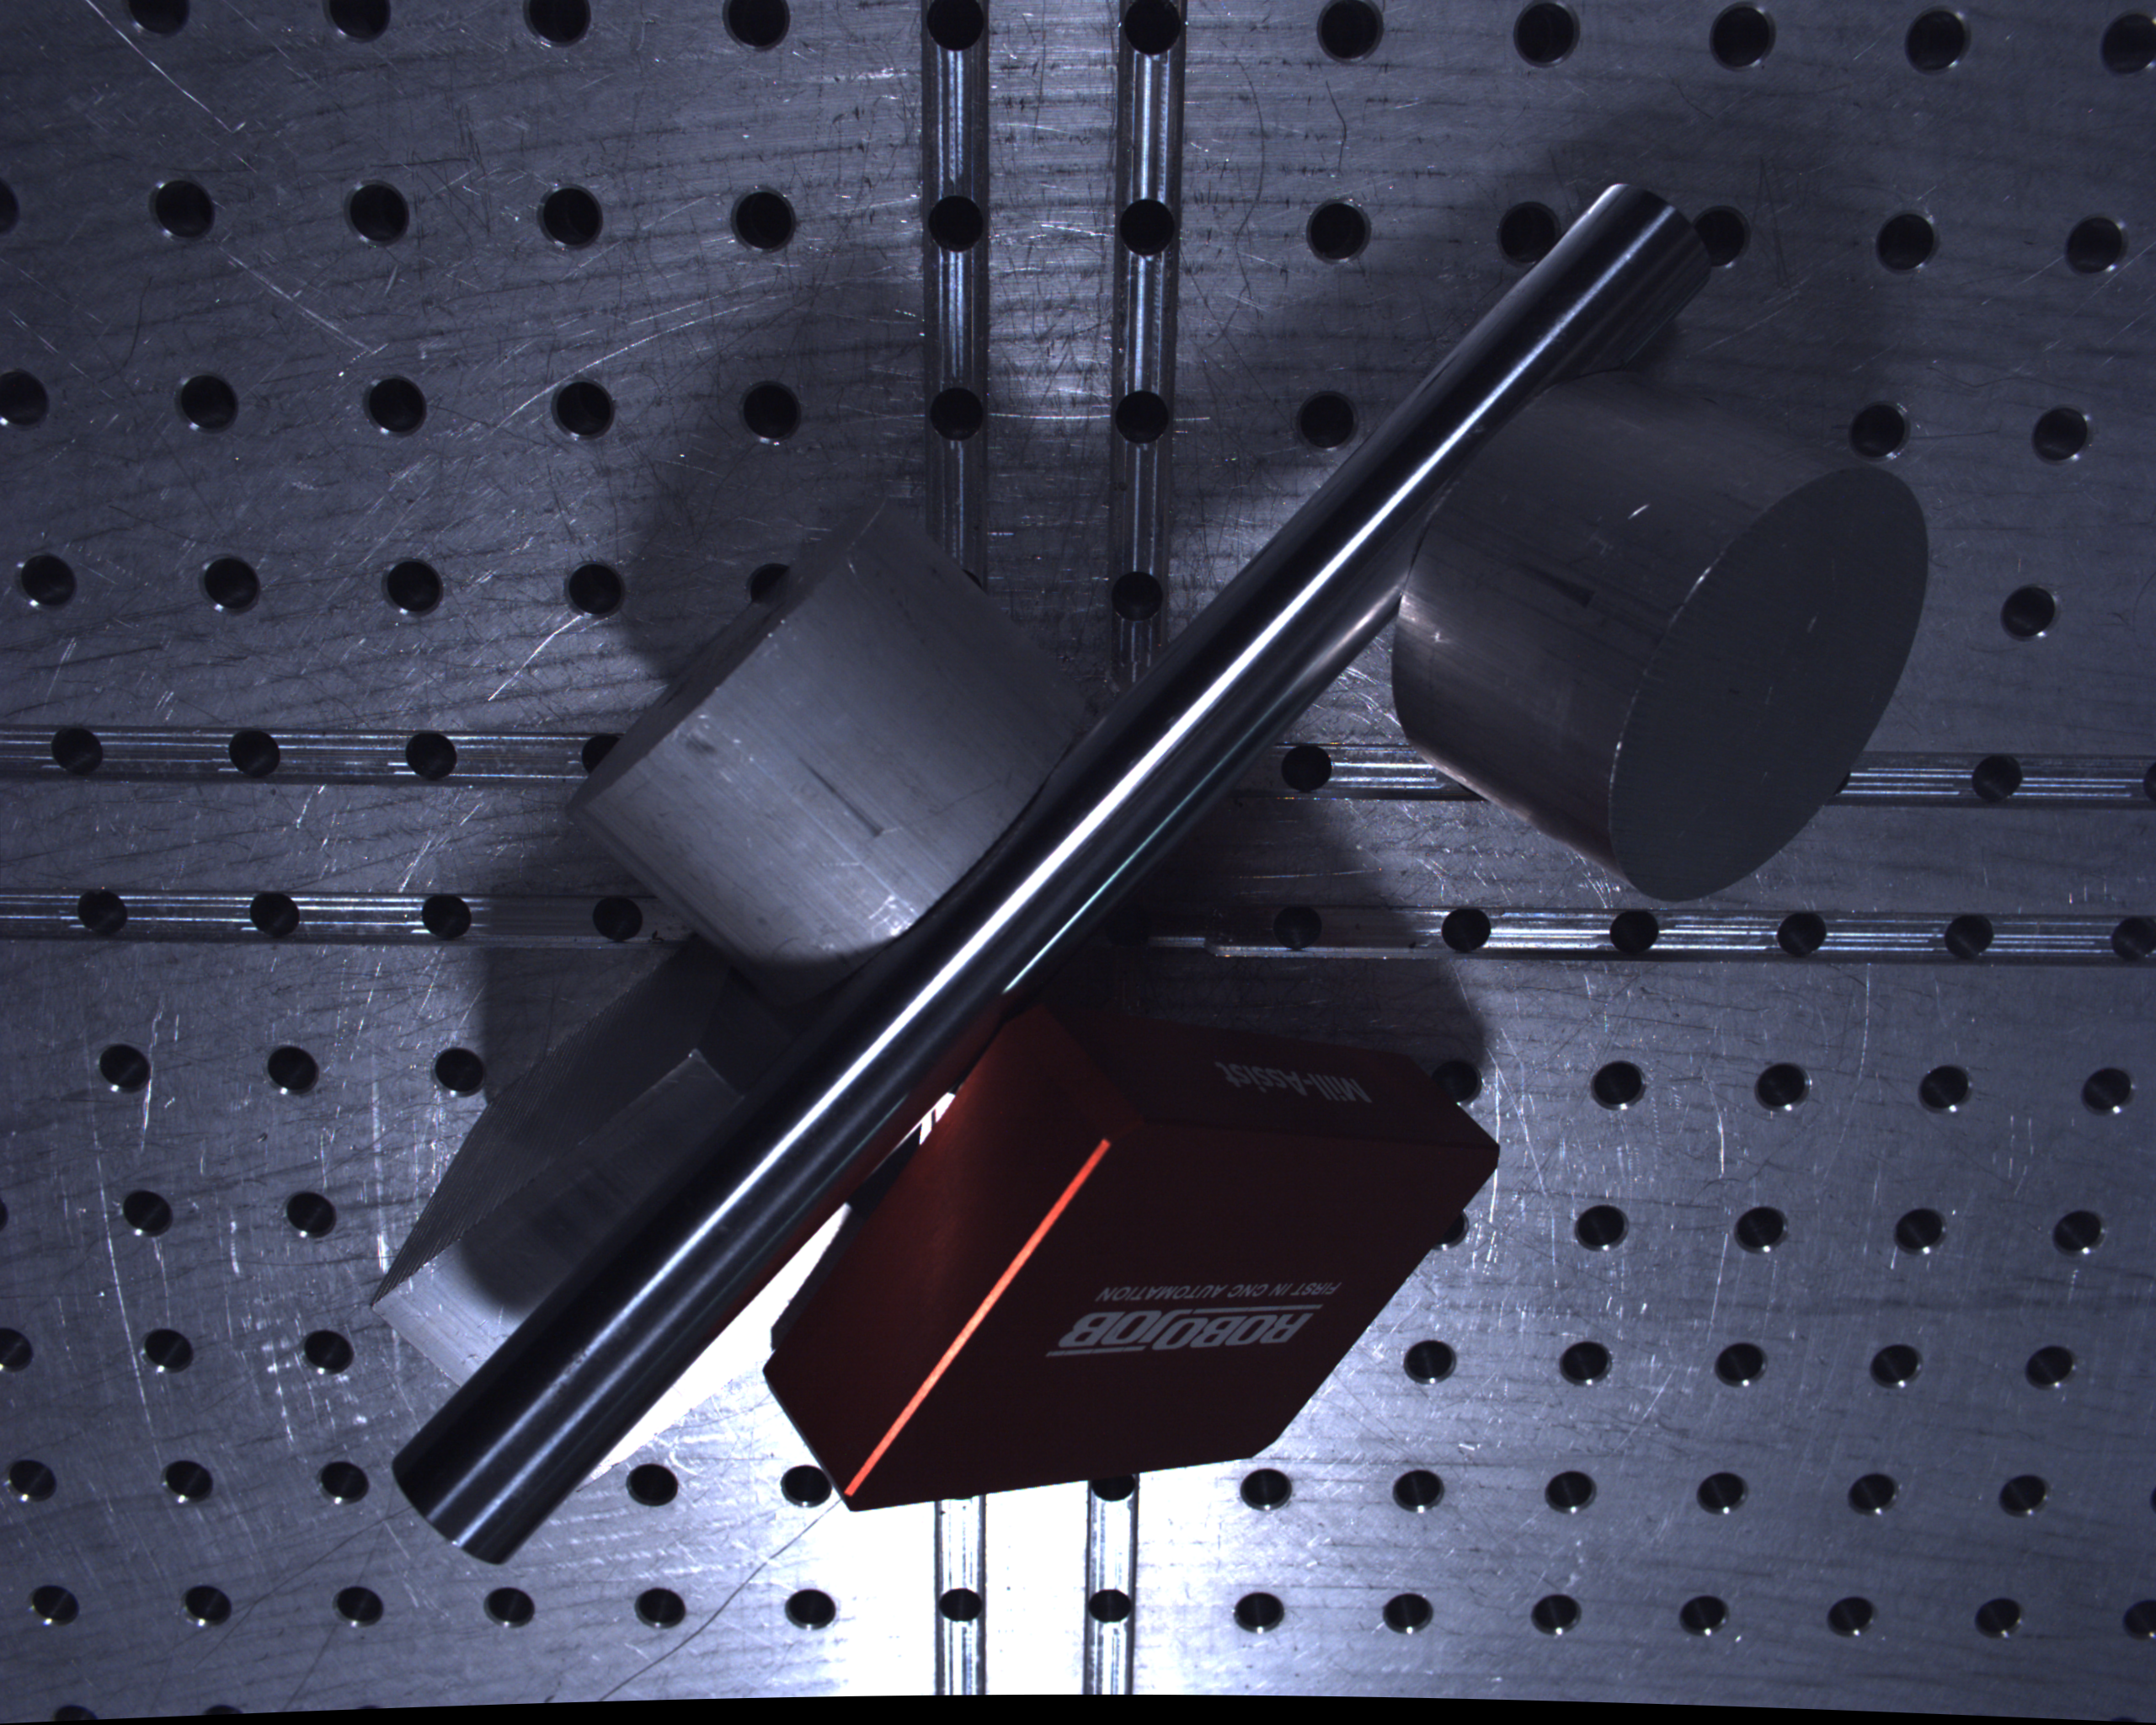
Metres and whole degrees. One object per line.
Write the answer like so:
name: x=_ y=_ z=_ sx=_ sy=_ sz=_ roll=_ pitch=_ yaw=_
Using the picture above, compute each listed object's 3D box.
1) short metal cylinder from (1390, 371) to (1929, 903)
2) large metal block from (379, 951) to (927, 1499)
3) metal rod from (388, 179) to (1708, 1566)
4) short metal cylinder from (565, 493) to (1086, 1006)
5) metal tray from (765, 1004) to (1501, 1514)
short metal cylinder: x=0.102 y=-0.040 z=0.366 sx=0.081 sy=0.050 sz=0.079 roll=-24 pitch=132 yaw=-29
large metal block: x=-0.077 y=0.061 z=0.405 sx=0.080 sy=0.080 sz=0.050 roll=-38 pitch=106 yaw=12
metal rod: x=0.001 y=-0.004 z=0.355 sx=0.025 sy=0.025 sz=0.300 roll=45 pitch=82 yaw=-15
short metal cylinder: x=-0.045 y=-0.020 z=0.376 sx=0.080 sy=0.080 sz=0.050 roll=-41 pitch=105 yaw=13
metal tray: x=0.016 y=0.076 z=0.396 sx=0.131 sy=0.030 sz=0.090 roll=13 pitch=117 yaw=-50
